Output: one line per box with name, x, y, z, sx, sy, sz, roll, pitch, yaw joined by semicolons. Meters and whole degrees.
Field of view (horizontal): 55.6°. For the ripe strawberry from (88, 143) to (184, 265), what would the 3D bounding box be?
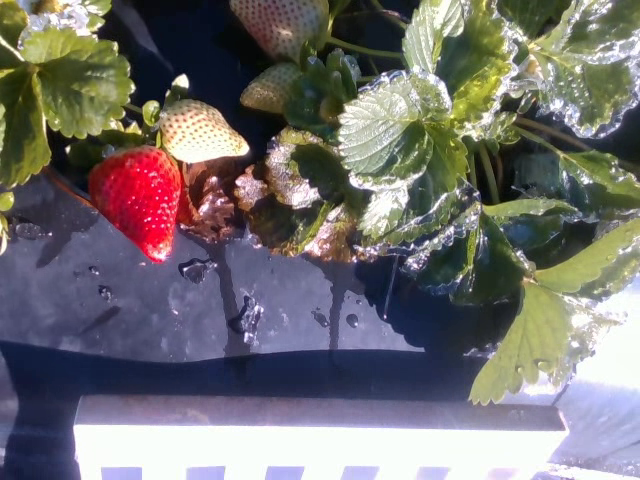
ripe strawberry;-0.072;-0.012;0.244;0.040;0.053;0.042;-25;-23;10
